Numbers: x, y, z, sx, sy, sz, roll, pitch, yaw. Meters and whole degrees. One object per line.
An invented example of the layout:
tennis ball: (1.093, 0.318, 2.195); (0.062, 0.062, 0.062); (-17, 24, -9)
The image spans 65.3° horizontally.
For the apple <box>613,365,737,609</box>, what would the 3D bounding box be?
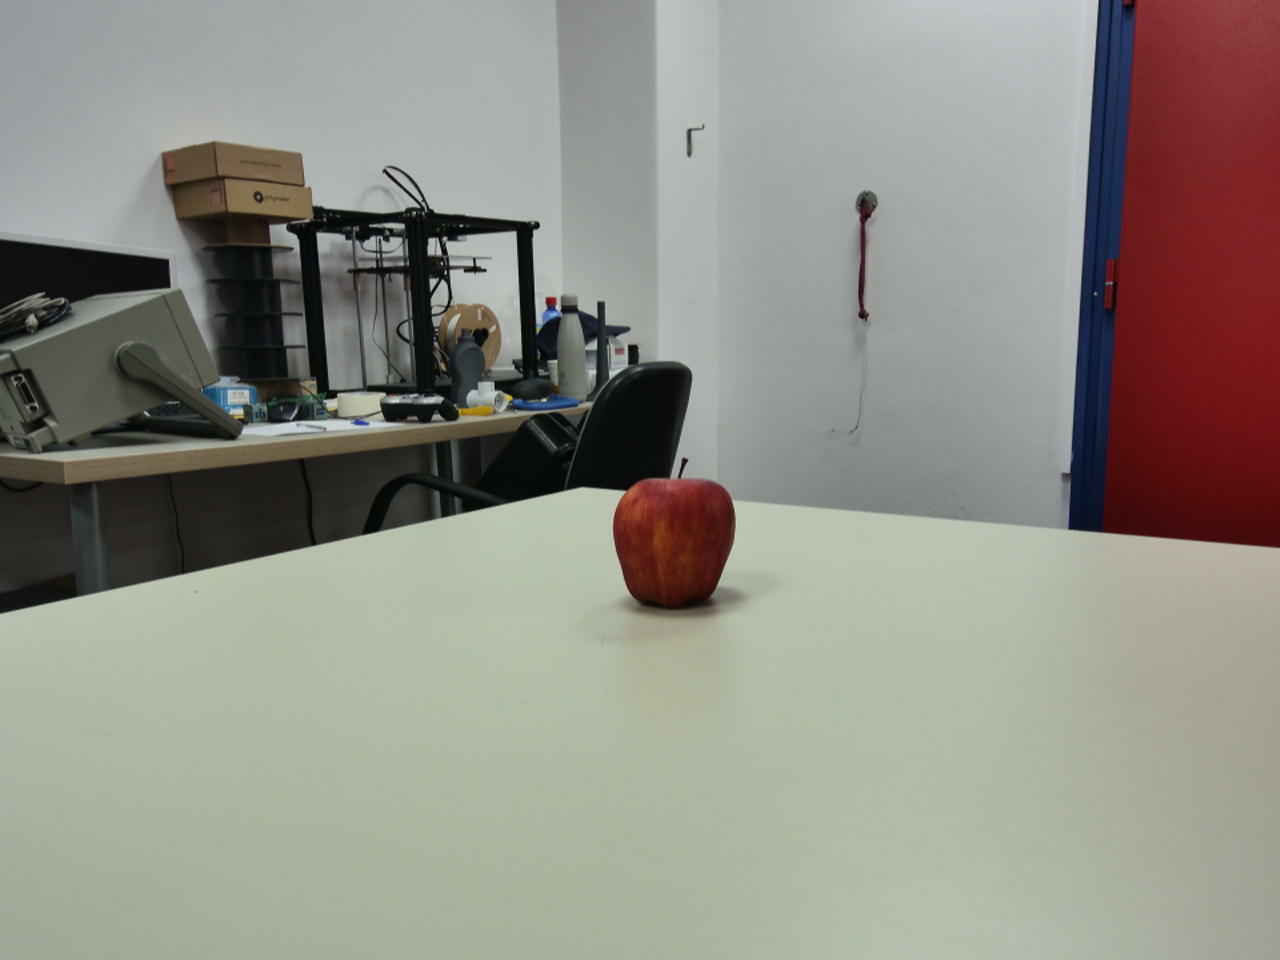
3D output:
apple: (0.022, 0.030, 0.627); (0.083, 0.090, 0.083); (0, 6, 0)
